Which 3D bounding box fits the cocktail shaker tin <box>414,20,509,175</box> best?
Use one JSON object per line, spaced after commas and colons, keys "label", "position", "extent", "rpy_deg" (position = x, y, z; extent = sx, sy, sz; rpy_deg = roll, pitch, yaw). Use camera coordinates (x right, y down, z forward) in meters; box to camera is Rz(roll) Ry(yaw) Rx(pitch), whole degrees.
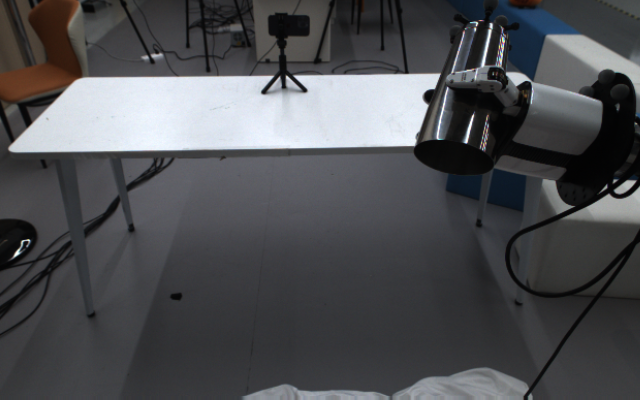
{"label": "cocktail shaker tin", "position": [0.181, -0.125, 0.584], "extent": [0.093, 0.093, 0.170], "rpy_deg": [13, 74, 15]}
